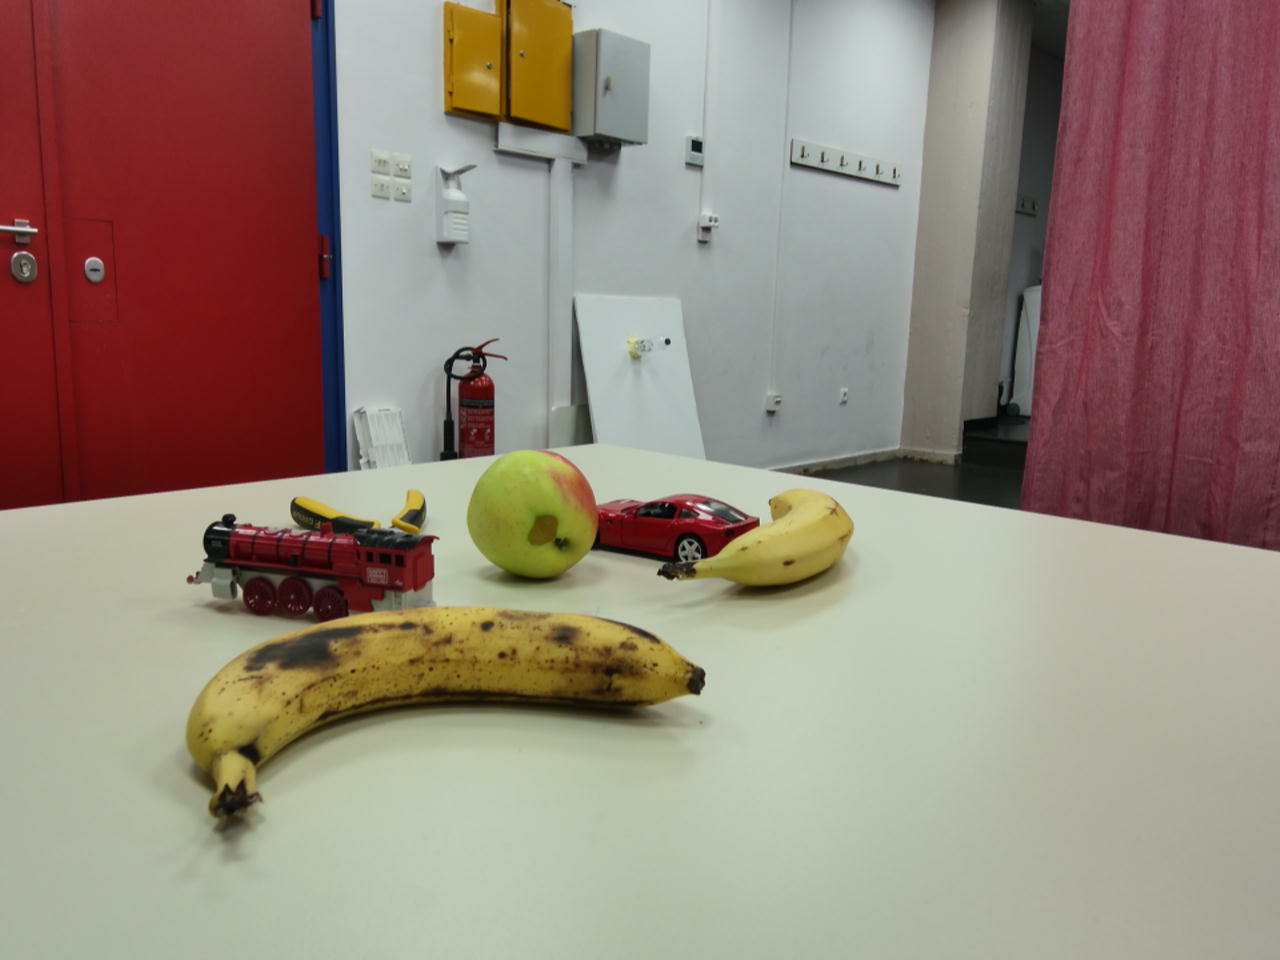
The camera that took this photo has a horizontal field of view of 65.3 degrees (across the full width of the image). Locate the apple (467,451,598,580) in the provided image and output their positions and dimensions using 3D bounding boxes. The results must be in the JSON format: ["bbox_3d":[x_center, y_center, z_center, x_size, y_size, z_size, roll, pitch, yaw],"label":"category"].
[{"bbox_3d":[-0.061,0.019,0.590,0.075,0.074,0.075,4,9,23],"label":"apple"}]
